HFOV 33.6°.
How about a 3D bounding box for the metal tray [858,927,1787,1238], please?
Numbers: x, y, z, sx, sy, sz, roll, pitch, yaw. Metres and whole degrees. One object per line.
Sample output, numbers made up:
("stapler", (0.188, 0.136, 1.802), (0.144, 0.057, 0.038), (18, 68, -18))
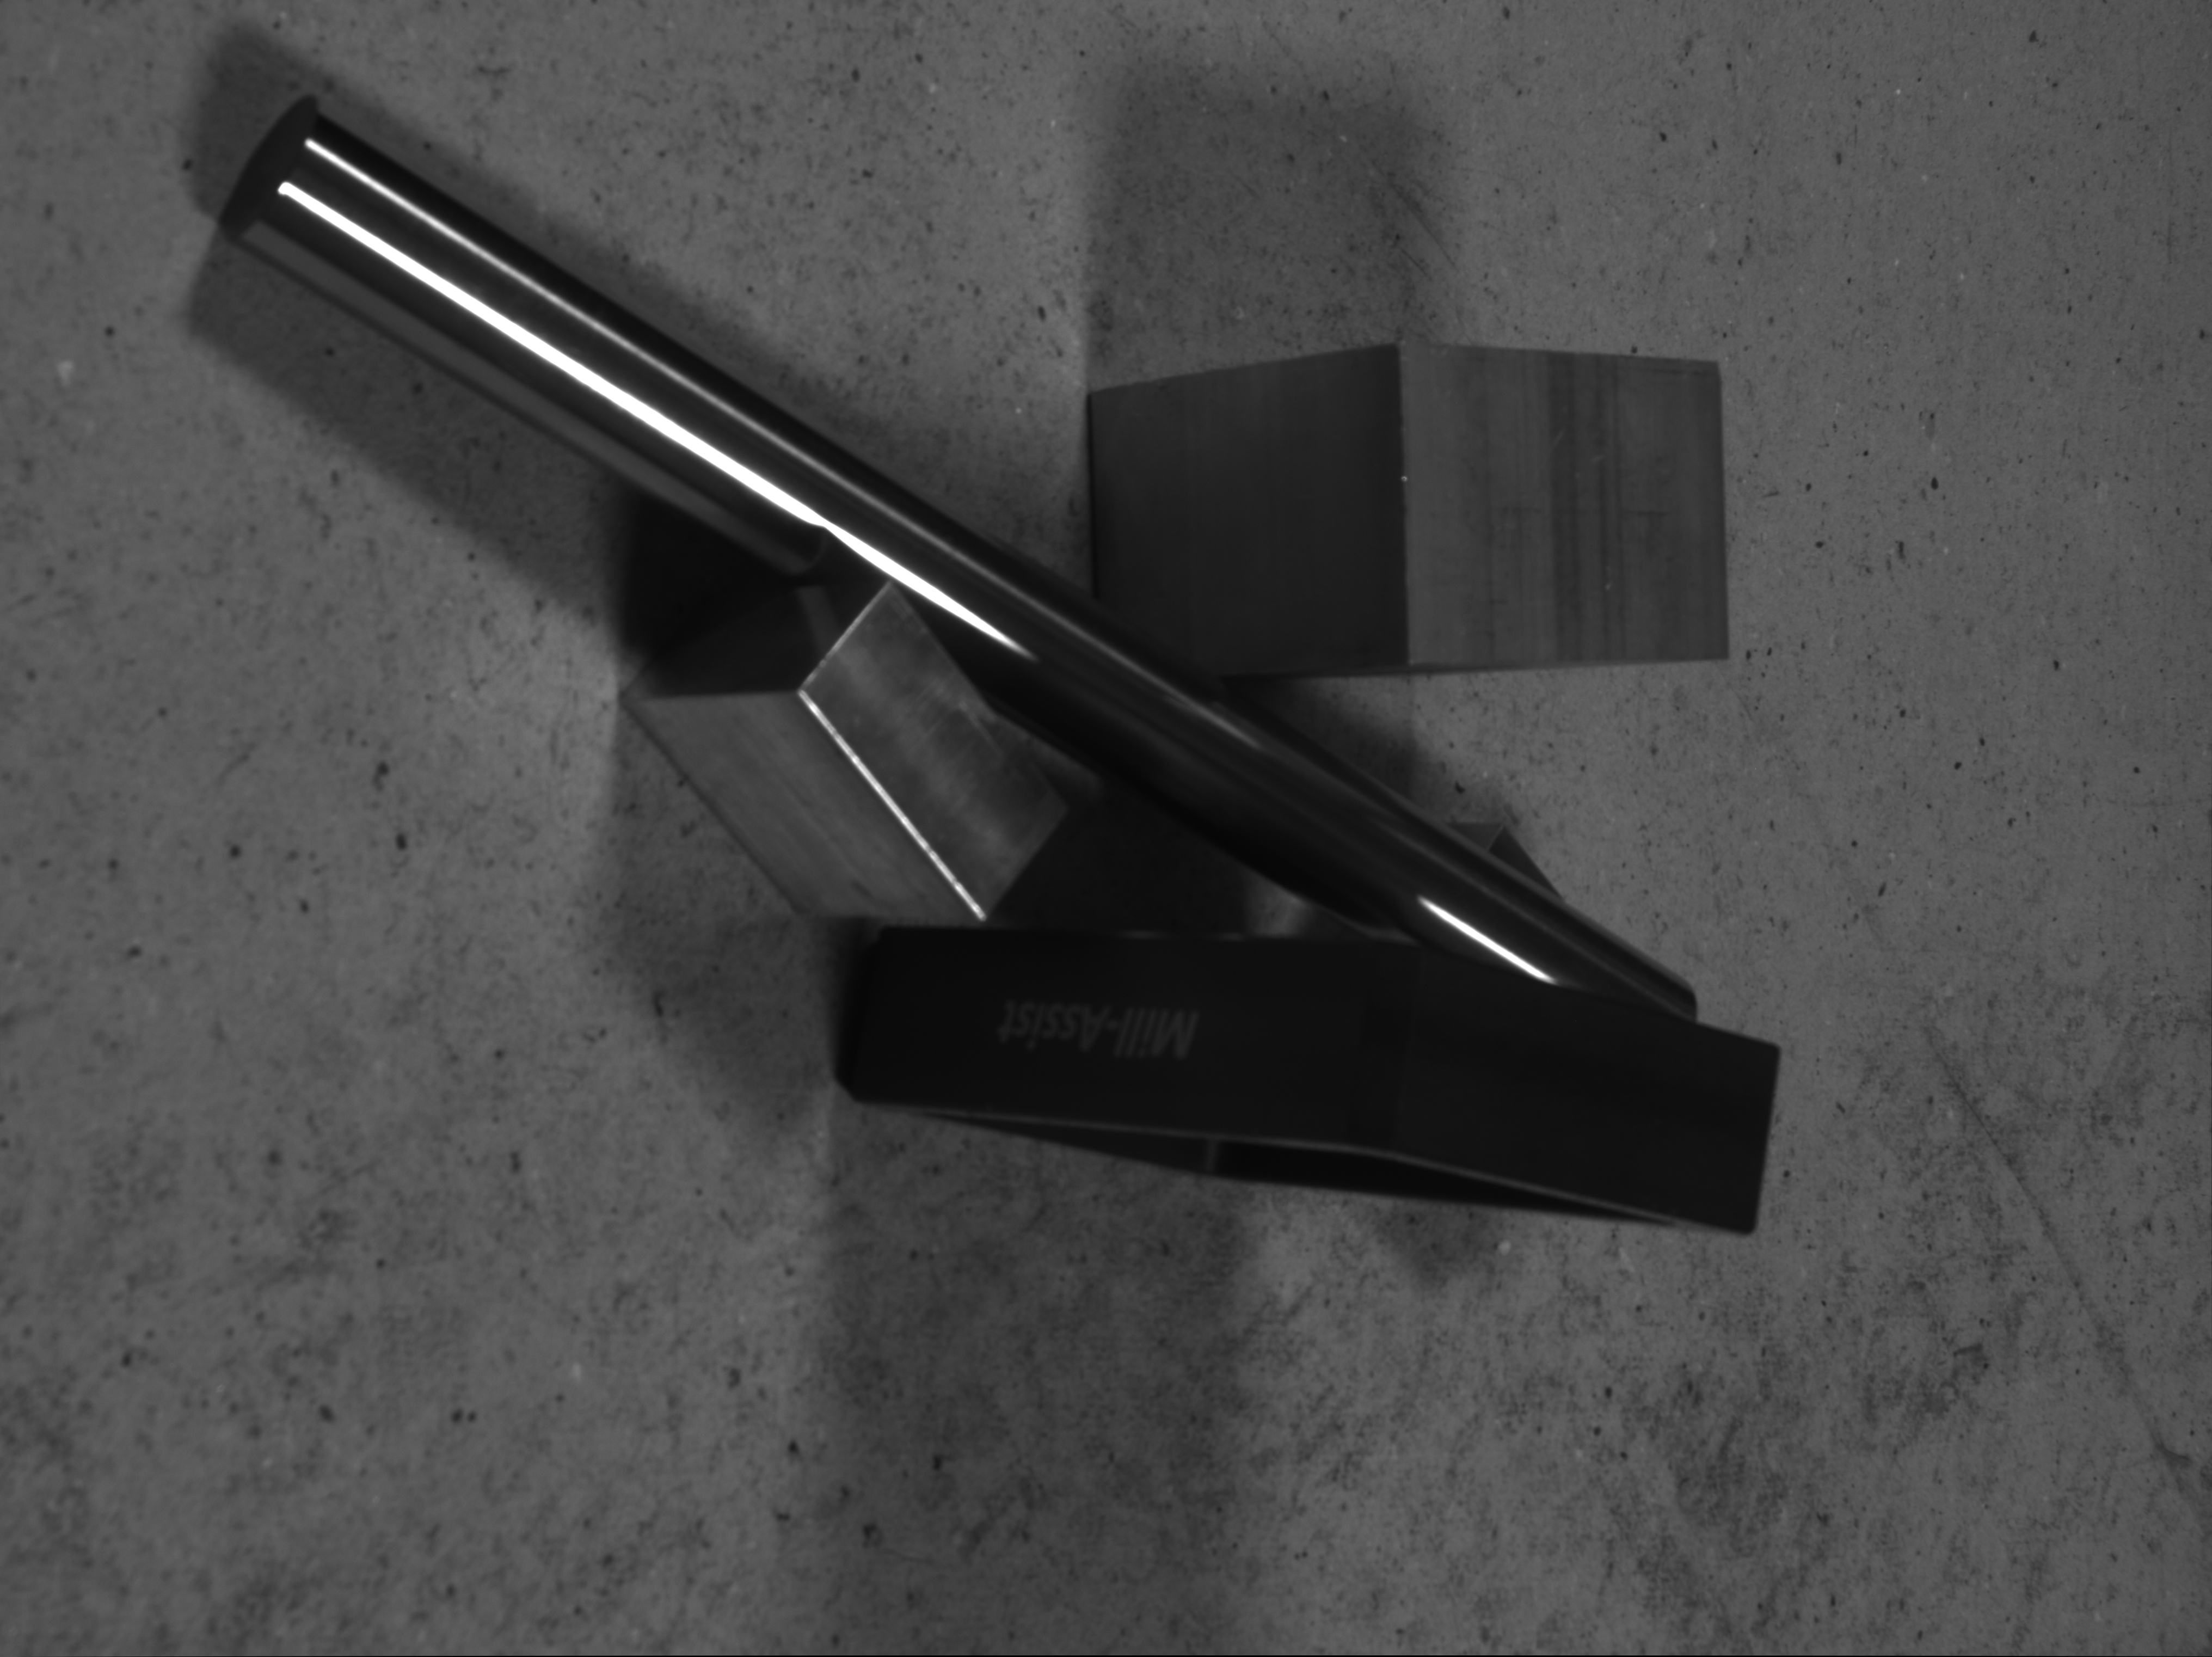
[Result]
("metal tray", (0.033, 0.041, 0.597), (0.090, 0.130, 0.030), (16, 80, -38))

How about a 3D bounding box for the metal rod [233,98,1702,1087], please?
("metal rod", (-0.009, -0.029, 0.612), (0.301, 0.025, 0.025), (31, 71, -30))

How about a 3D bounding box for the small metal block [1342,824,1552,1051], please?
("small metal block", (0.069, 0.034, 0.695), (0.050, 0.025, 0.050), (49, 61, -29))

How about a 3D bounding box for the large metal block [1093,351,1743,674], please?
("large metal block", (0.055, -0.053, 0.646), (0.080, 0.080, 0.050), (-2, 91, -40))

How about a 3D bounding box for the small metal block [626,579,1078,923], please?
("small metal block", (-0.041, -0.012, 0.586), (0.050, 0.050, 0.025), (52, 60, -27))
